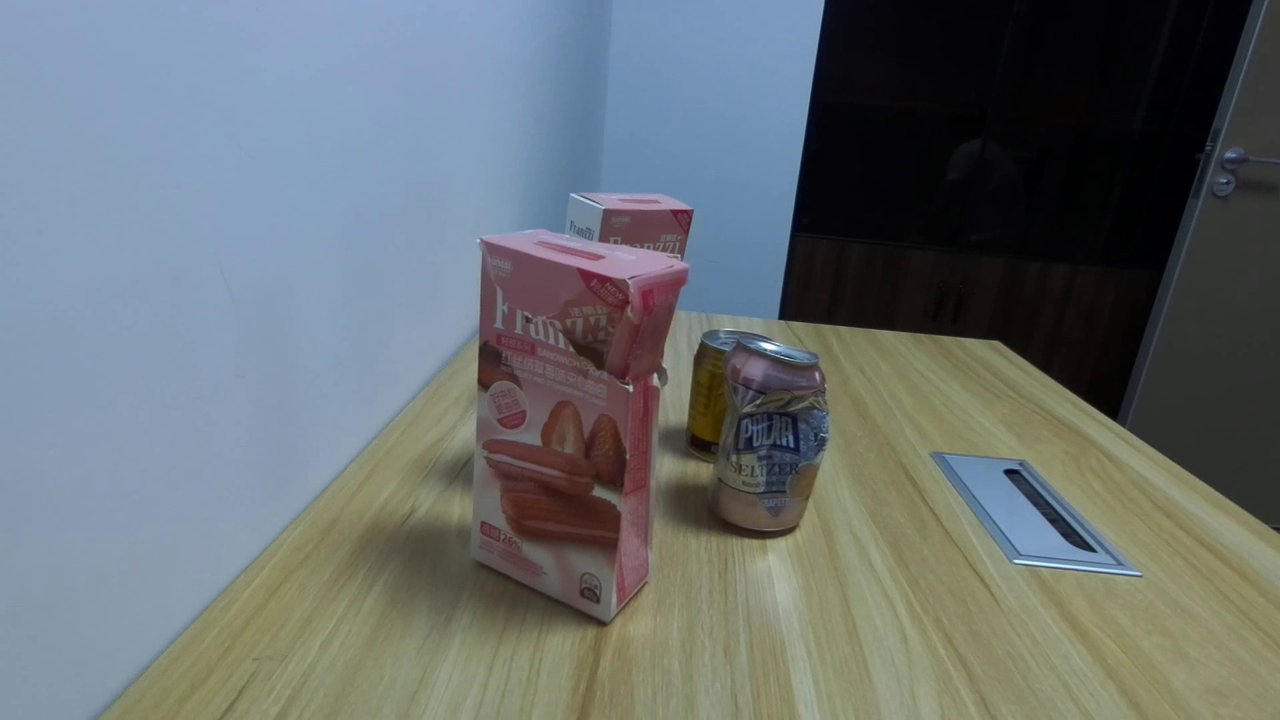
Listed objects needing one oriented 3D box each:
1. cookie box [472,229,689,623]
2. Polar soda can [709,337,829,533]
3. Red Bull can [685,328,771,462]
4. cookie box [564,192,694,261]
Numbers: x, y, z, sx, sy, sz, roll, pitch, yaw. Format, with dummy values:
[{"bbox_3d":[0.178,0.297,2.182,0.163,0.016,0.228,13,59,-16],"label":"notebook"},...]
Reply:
[{"bbox_3d":[-0.037,0.033,0.372,0.104,0.186,0.059,17,24,29],"label":"cookie box"},{"bbox_3d":[0.085,0.048,0.464,0.071,0.121,0.066,3,14,-8],"label":"Polar soda can"},{"bbox_3d":[0.074,0.028,0.561,0.069,0.092,0.069,4,19,-1],"label":"Red Bull can"},{"bbox_3d":[-0.017,-0.046,0.607,0.105,0.187,0.048,-10,32,-38],"label":"cookie box"}]
